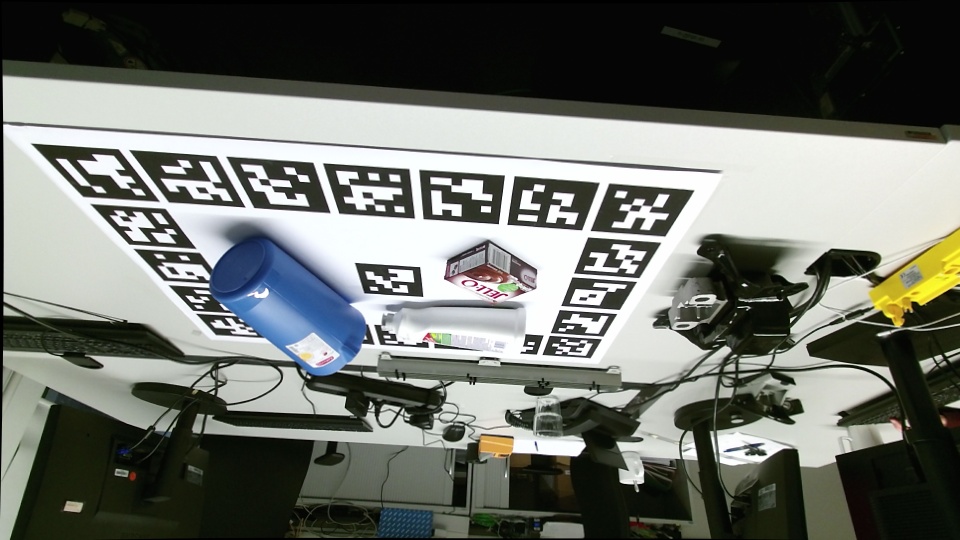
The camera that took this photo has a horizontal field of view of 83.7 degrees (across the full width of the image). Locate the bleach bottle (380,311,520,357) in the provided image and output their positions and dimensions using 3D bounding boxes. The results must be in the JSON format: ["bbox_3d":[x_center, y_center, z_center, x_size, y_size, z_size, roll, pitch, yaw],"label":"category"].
[{"bbox_3d":[-0.056,0.114,0.961,0.252,0.067,0.103,3,143,4],"label":"bleach bottle"}]

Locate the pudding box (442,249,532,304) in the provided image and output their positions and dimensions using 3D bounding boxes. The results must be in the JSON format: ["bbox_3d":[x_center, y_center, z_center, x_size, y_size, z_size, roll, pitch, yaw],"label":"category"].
[{"bbox_3d":[0.010,0.018,0.818,0.090,0.038,0.114,-19,140,40],"label":"pudding box"}]

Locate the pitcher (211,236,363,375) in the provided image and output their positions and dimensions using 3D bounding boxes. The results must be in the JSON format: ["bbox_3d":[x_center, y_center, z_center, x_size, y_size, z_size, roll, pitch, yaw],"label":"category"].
[{"bbox_3d":[-0.314,0.054,0.862,0.188,0.133,0.243,23,157,39],"label":"pitcher"}]
